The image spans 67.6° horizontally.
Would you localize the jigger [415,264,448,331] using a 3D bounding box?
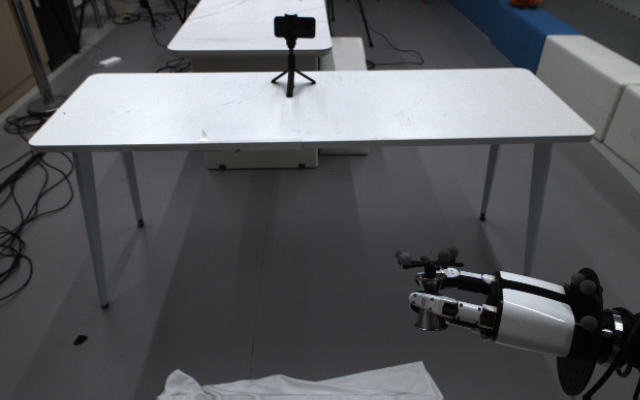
[{"bbox_3d":[0.147,0.134,0.647,0.043,0.071,0.043,-2,3,0],"label":"jigger"}]
